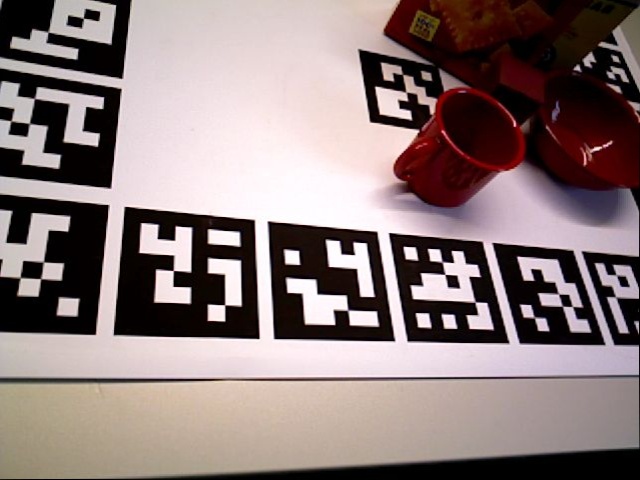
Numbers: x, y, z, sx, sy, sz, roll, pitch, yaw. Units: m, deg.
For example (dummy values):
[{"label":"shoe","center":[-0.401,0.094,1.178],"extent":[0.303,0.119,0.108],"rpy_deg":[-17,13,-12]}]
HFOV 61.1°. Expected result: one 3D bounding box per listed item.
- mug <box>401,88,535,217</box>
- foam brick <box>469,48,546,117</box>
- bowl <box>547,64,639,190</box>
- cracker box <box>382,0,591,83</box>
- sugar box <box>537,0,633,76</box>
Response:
[{"label":"mug","center":[0.126,-0.074,0.490],"extent":[0.115,0.083,0.092],"rpy_deg":[-5,57,-23]},{"label":"foam brick","center":[0.188,-0.146,0.567],"extent":[0.052,0.080,0.050],"rpy_deg":[17,56,-12]},{"label":"bowl","center":[0.306,-0.111,0.592],"extent":[0.160,0.056,0.159],"rpy_deg":[9,61,-18]},{"label":"cracker box","center":[0.186,-0.270,0.546],"extent":[0.164,0.219,0.070],"rpy_deg":[30,53,-5]},{"label":"sugar box","center":[0.281,-0.266,0.603],"extent":[0.092,0.181,0.044],"rpy_deg":[23,56,-9]}]
